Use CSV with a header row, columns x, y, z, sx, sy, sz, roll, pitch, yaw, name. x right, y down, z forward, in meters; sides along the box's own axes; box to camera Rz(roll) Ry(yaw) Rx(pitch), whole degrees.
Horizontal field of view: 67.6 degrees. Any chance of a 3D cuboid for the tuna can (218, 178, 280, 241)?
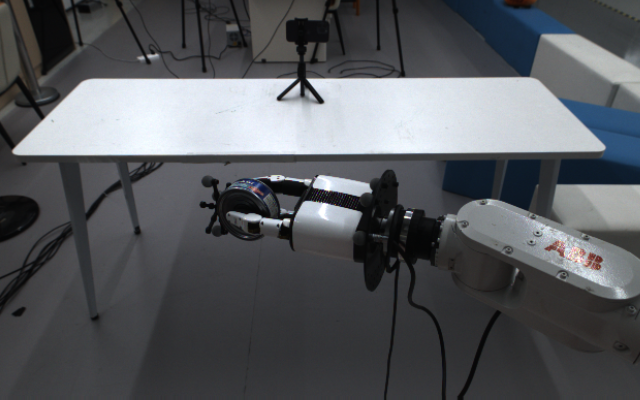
x,y,z,sx,sy,sz,roll,pitch,yaw,name
-0.099,0.012,0.683,0.085,0.085,0.034,12,28,14,tuna can
